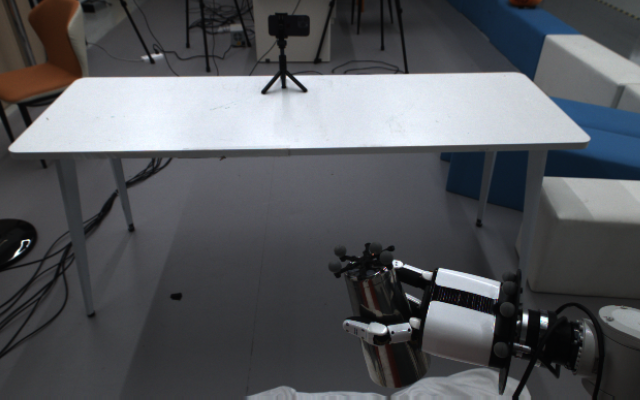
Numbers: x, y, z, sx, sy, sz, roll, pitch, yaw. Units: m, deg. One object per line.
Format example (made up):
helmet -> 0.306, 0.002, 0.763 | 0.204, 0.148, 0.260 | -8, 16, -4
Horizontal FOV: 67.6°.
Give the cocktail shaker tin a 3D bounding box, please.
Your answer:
cocktail shaker tin -> 0.088, 0.162, 0.670 | 0.093, 0.170, 0.093 | -17, 20, 6
